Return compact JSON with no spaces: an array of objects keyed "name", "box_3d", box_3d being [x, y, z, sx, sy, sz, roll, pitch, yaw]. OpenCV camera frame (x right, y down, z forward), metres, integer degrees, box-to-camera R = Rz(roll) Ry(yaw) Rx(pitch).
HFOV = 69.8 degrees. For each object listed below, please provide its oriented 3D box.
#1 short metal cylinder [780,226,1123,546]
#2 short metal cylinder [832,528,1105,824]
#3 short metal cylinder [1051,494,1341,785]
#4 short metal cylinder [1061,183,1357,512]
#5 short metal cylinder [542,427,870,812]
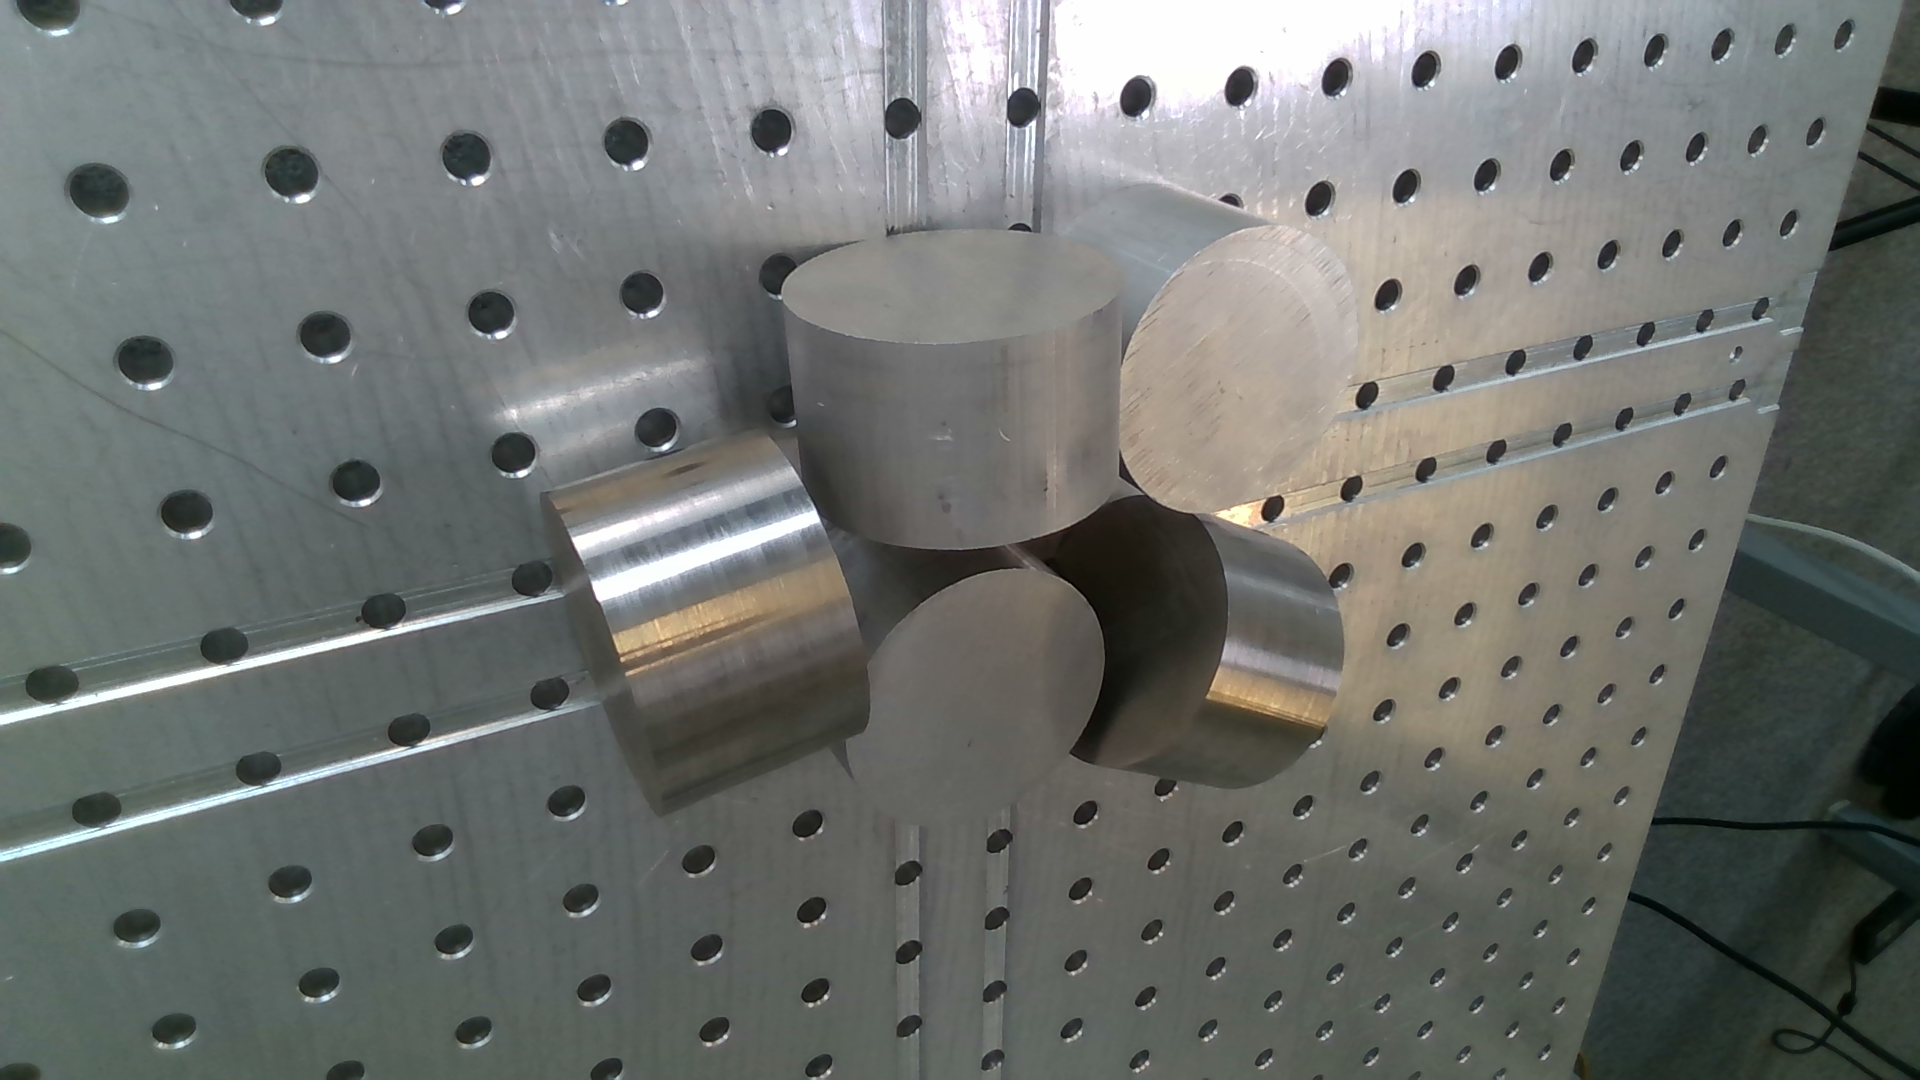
[{"name":"short metal cylinder","box_3d":[-0.001,-0.040,0.336,0.080,0.080,0.050,-17,123,-24]},{"name":"short metal cylinder","box_3d":[-0.006,0.032,0.390,0.080,0.050,0.080,-14,122,-24]},{"name":"short metal cylinder","box_3d":[0.066,0.031,0.414,0.050,0.080,0.080,16,106,-37]},{"name":"short metal cylinder","box_3d":[0.063,-0.054,0.385,0.080,0.050,0.080,-14,120,-25]},{"name":"short metal cylinder","box_3d":[-0.062,0.018,0.328,0.050,0.080,0.080,-20,124,-21]}]
